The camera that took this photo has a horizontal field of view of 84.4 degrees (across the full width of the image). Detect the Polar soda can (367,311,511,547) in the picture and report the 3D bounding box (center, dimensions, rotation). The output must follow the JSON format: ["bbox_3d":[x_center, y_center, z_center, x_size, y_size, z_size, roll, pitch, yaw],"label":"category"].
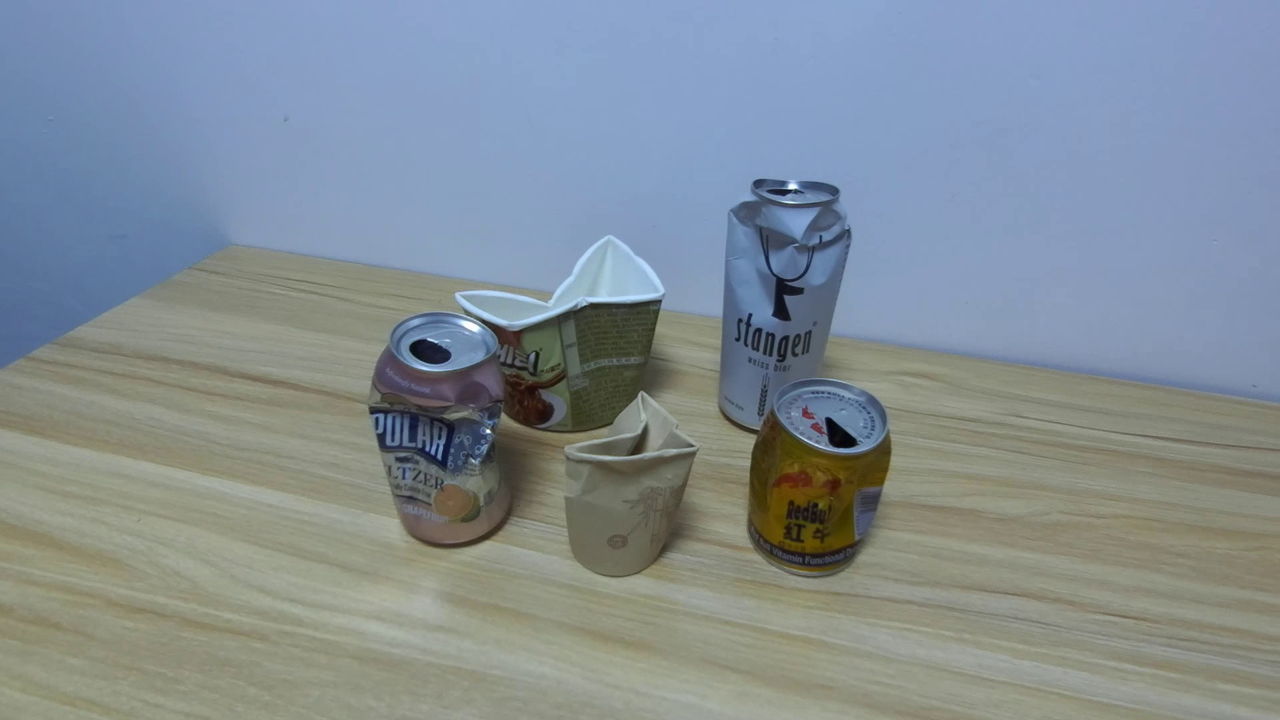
[{"bbox_3d":[-0.103,0.040,0.391,0.071,0.122,0.067,18,31,22],"label":"Polar soda can"}]

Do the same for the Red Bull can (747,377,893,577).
[{"bbox_3d":[0.095,0.064,0.385,0.072,0.092,0.072,2,33,-1],"label":"Red Bull can"}]

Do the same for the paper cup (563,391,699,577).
[{"bbox_3d":[-0.011,0.066,0.383,0.066,0.083,0.058,-6,33,-13],"label":"paper cup"}]

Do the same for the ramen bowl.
[{"bbox_3d":[-0.056,-0.018,0.496,0.129,0.093,0.111,-14,37,-21],"label":"ramen bowl"}]

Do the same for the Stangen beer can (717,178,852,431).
[{"bbox_3d":[0.091,-0.033,0.462,0.066,0.166,0.065,-21,39,-32],"label":"Stangen beer can"}]
